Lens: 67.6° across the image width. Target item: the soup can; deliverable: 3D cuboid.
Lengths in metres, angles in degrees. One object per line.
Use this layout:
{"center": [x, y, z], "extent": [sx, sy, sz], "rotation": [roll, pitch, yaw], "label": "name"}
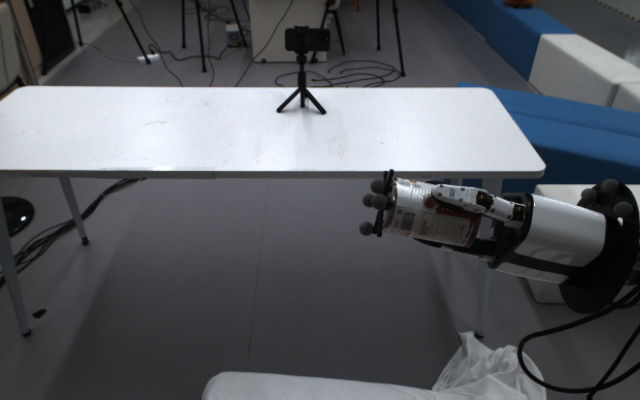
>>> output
{"center": [0.131, 0.013, 0.571], "extent": [0.101, 0.067, 0.067], "rotation": [10, 35, -2], "label": "soup can"}
